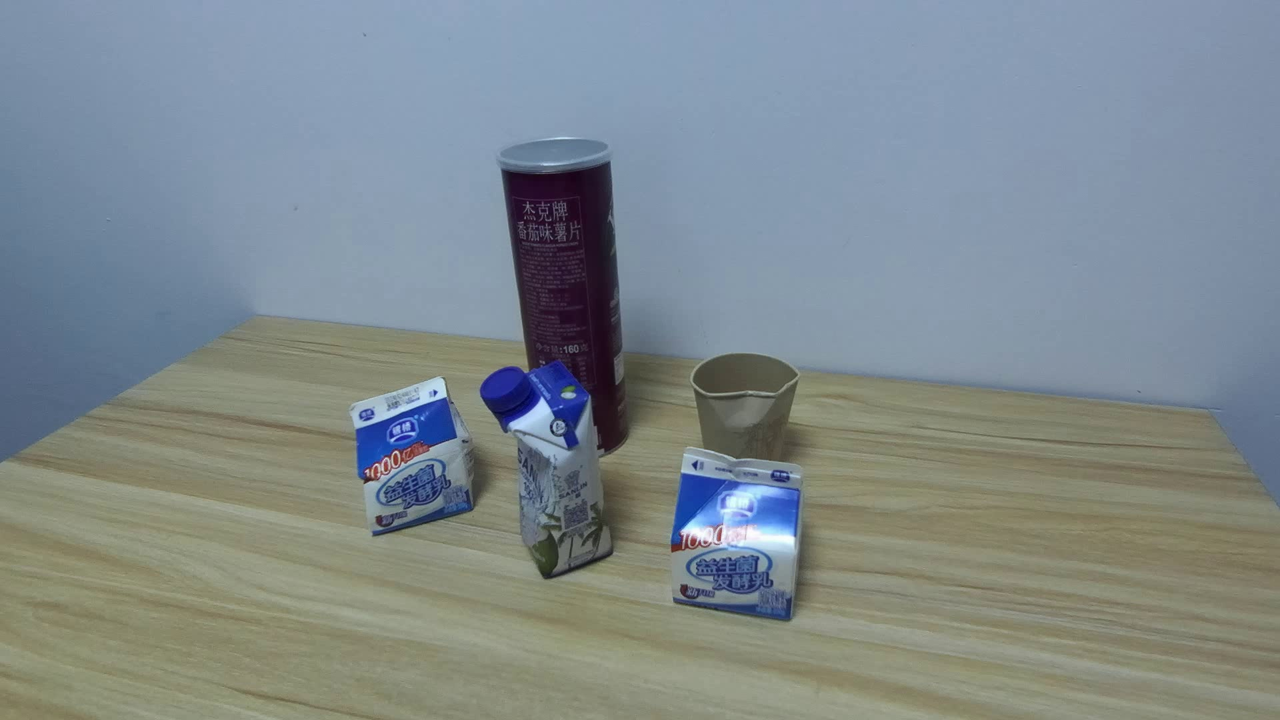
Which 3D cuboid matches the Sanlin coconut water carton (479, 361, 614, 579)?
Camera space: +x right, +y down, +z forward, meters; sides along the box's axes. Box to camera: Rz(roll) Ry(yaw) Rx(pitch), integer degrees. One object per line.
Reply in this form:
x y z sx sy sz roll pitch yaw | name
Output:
-0.056 0.065 0.446 0.058 0.142 0.077 -20 33 -18 | Sanlin coconut water carton

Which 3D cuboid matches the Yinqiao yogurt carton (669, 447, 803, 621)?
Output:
0.061 0.094 0.425 0.075 0.092 0.074 5 29 14 | Yinqiao yogurt carton

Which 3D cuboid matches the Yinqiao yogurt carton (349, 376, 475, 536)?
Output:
-0.165 0.060 0.512 0.083 0.093 0.077 -13 31 -17 | Yinqiao yogurt carton

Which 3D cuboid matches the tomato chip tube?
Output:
-0.052 -0.039 0.532 0.078 0.234 0.078 -2 29 2 | tomato chip tube

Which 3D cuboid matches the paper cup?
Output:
0.074 0.046 0.517 0.068 0.081 0.074 17 34 34 | paper cup
